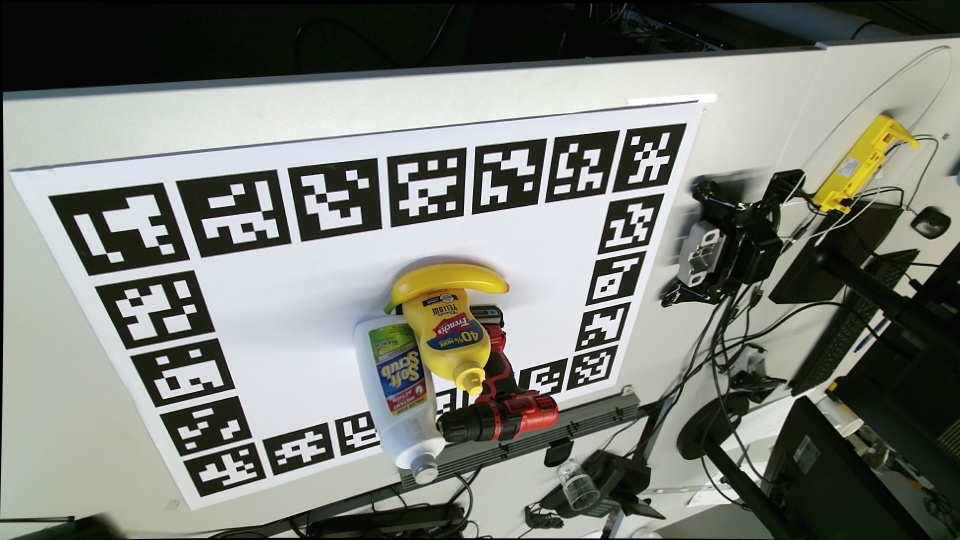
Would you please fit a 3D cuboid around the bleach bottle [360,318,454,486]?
[{"bbox_3d":[-0.089,0.175,0.721,0.103,0.249,0.068,-9,132,-21],"label":"bleach bottle"}]

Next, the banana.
[{"bbox_3d":[-0.041,0.028,0.782,0.198,0.039,0.074,-8,125,-24],"label":"banana"}]

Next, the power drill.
[{"bbox_3d":[0.012,0.164,0.767,0.185,0.186,0.057,0,124,-25],"label":"power drill"}]

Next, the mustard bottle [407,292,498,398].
[{"bbox_3d":[-0.030,0.102,0.729,0.096,0.191,0.058,-10,127,-19],"label":"mustard bottle"}]
